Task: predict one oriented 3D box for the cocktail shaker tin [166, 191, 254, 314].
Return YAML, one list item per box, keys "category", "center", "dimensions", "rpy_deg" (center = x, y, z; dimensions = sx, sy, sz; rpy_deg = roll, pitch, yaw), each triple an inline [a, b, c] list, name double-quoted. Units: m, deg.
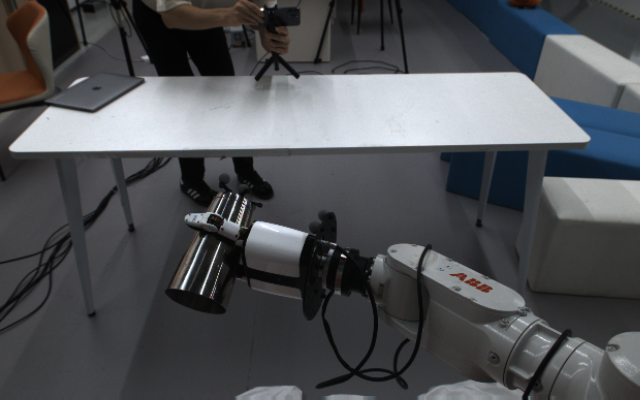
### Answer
- category: "cocktail shaker tin"
  center: [-0.158, 0.076, 0.730]
  dimensions: [0.093, 0.093, 0.170]
  rpy_deg: [10, 60, 11]
